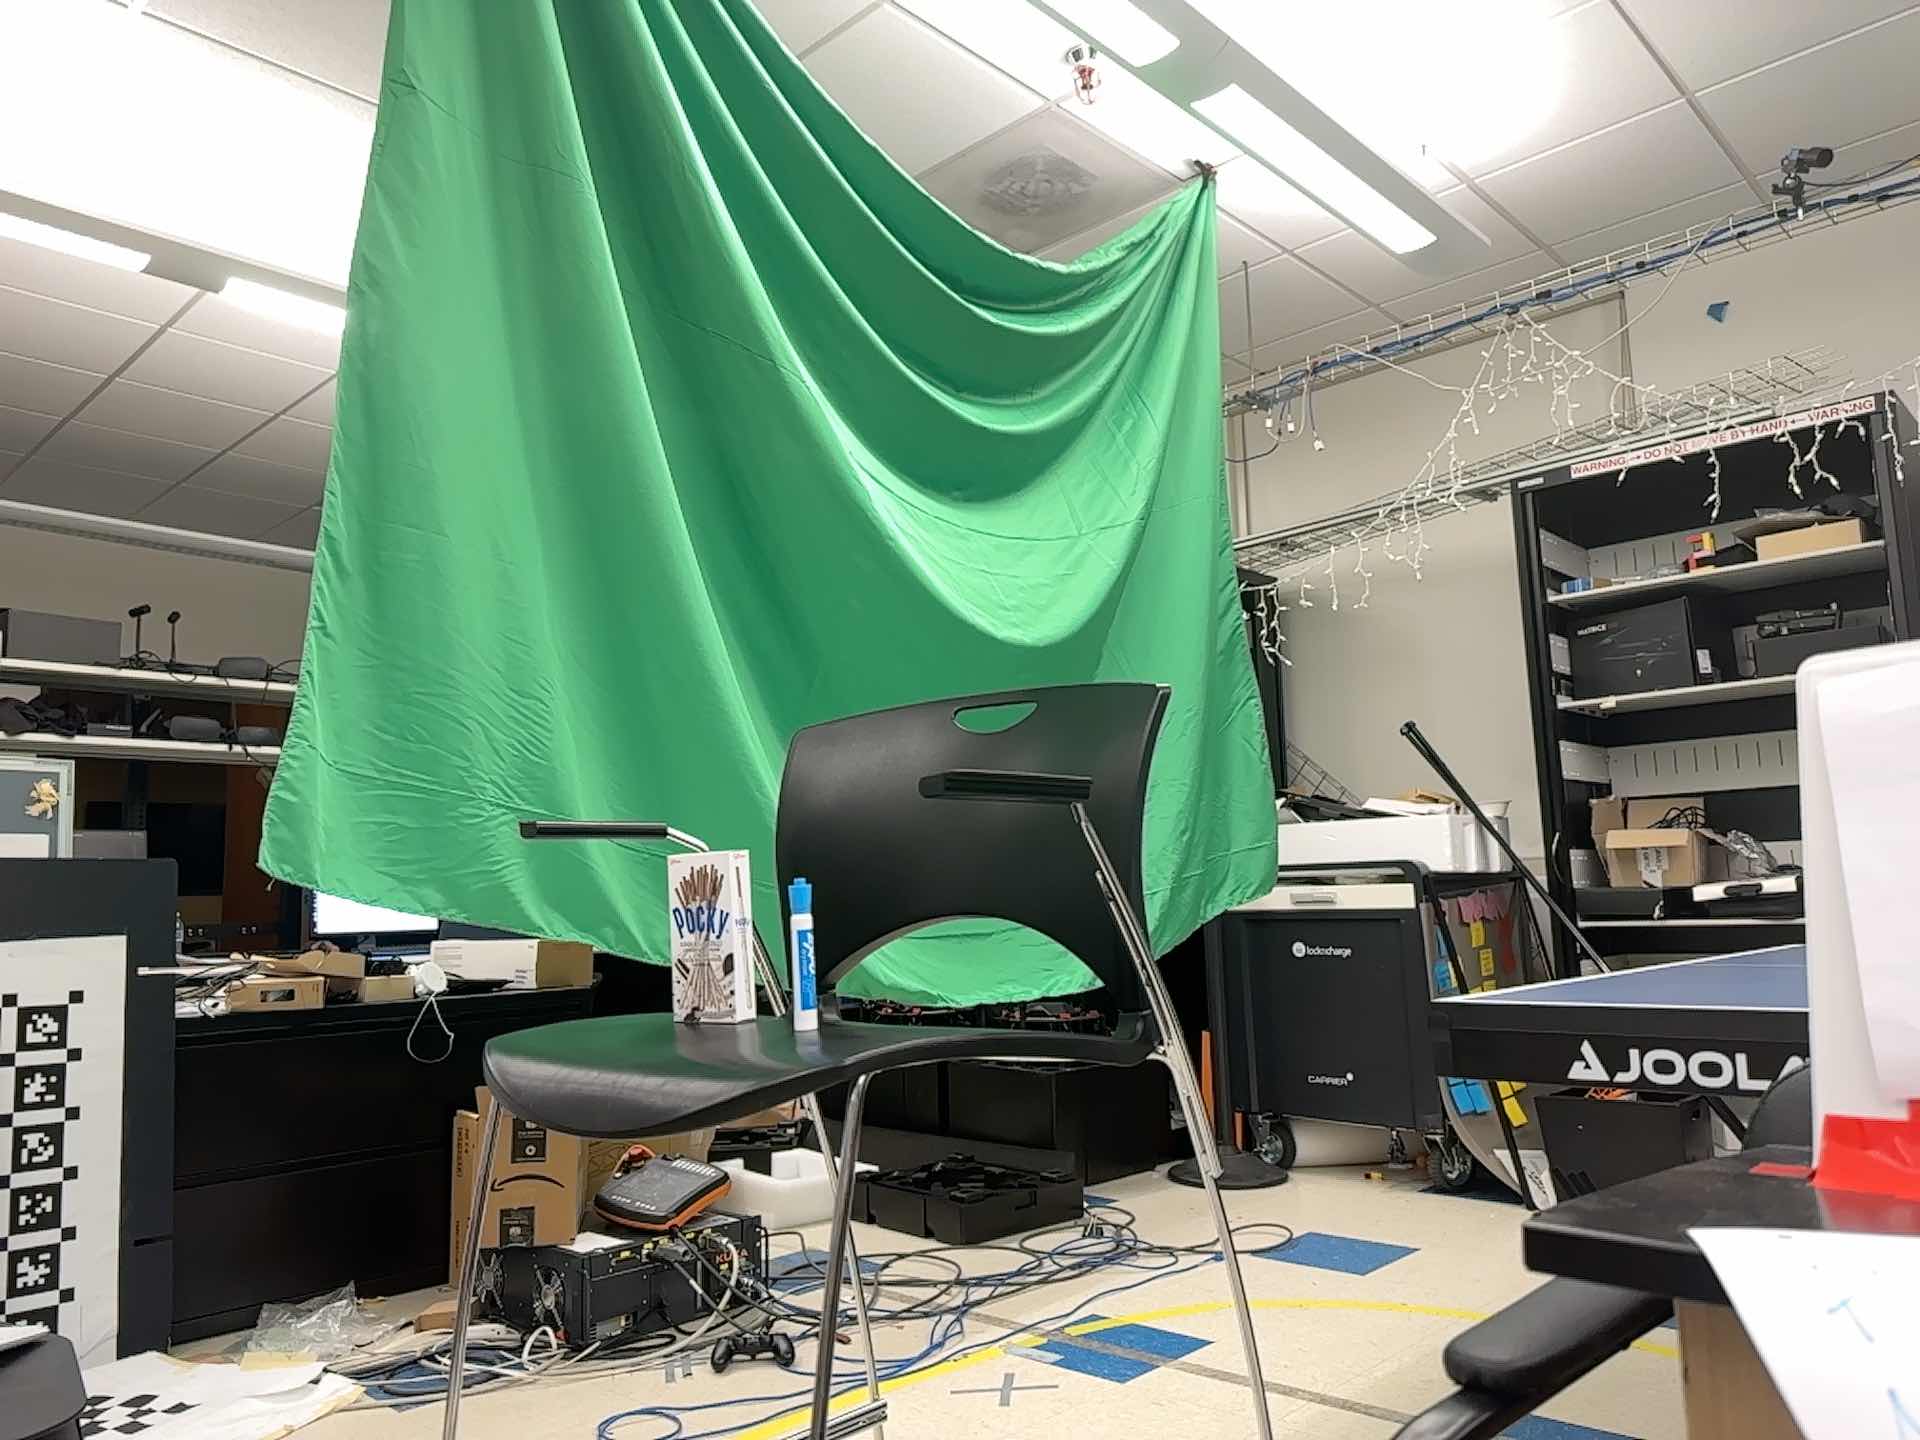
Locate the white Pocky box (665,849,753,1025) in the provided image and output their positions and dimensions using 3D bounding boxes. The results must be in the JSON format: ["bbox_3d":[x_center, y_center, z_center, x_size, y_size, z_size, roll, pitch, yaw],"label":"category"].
[{"bbox_3d":[-0.230,0.196,1.226,0.084,0.154,0.028,-6,-5,38],"label":"white Pocky box"}]

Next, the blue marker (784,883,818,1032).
[{"bbox_3d":[-0.133,0.196,1.117,0.020,0.121,0.020,-5,-4,0],"label":"blue marker"}]
